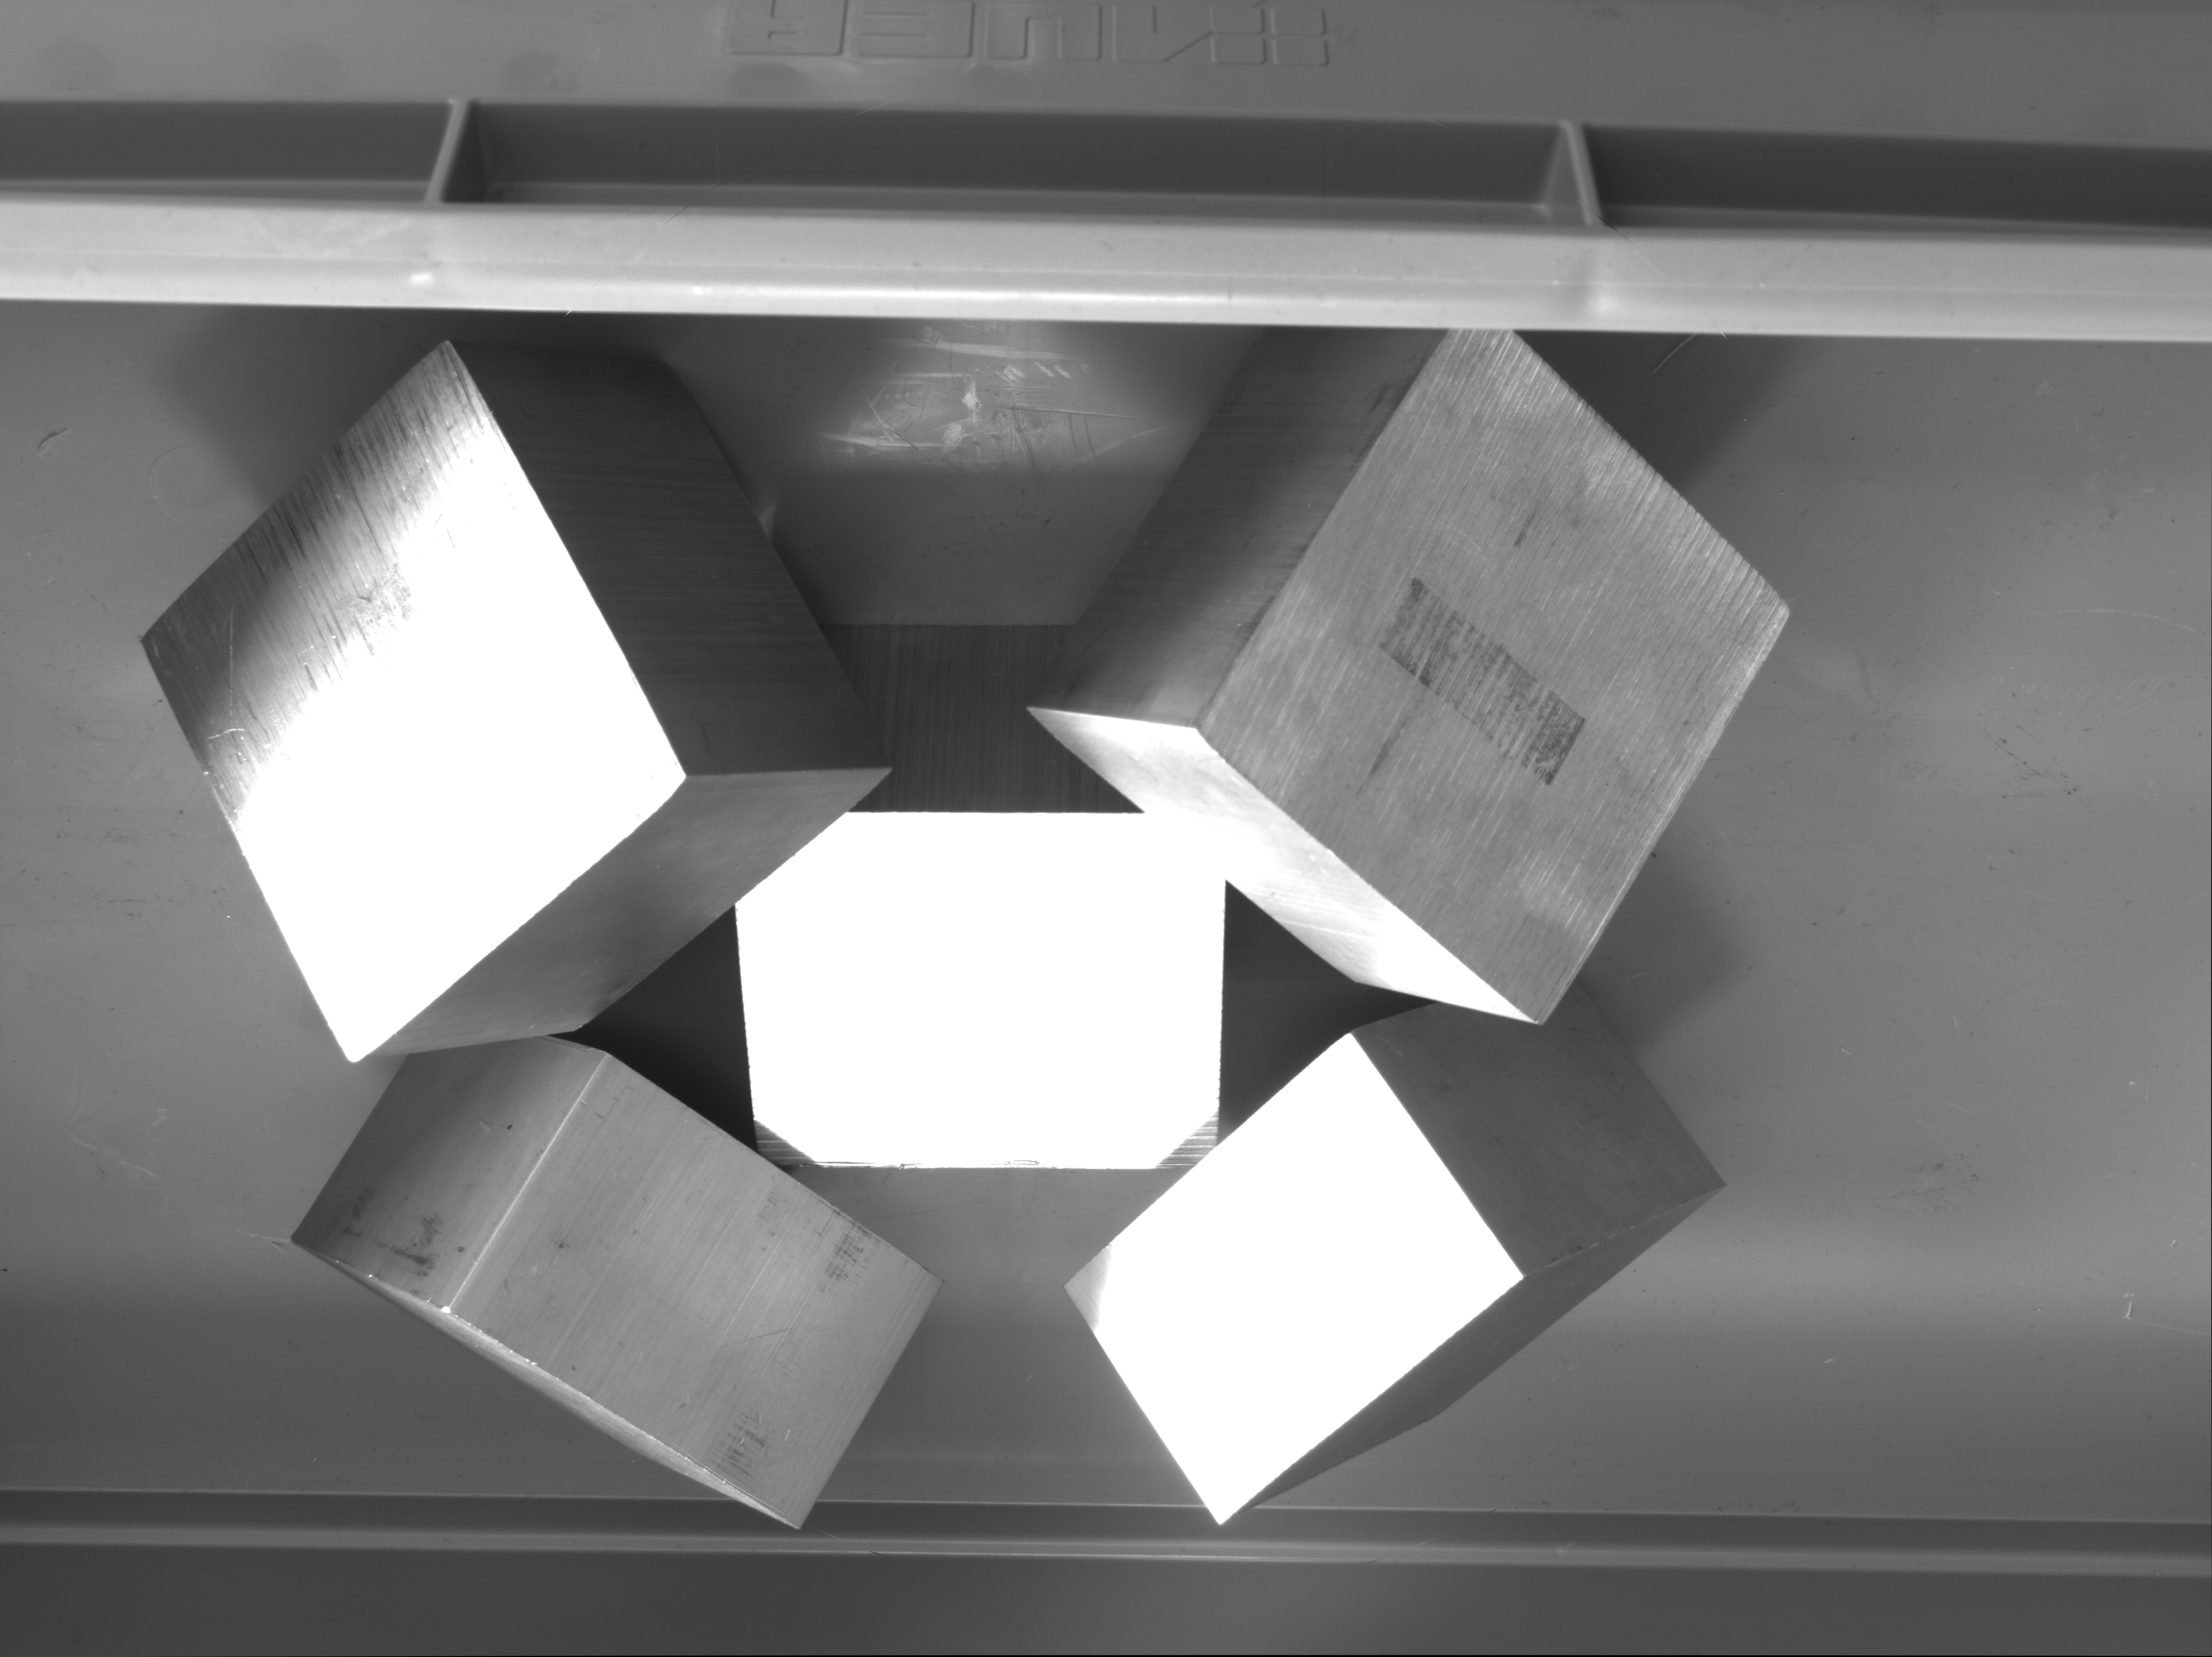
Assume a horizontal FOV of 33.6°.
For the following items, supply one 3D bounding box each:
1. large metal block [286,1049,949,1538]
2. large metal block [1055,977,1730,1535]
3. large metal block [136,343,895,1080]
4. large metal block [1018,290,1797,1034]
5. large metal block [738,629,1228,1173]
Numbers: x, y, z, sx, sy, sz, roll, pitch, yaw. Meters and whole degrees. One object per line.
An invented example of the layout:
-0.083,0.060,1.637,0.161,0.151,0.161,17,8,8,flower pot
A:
-0.089,0.078,0.660,0.080,0.050,0.080,38,165,-28,large metal block
0.052,0.074,0.655,0.080,0.050,0.080,-45,162,30,large metal block
-0.093,-0.018,0.575,0.080,0.080,0.050,-38,164,27,large metal block
0.048,-0.027,0.572,0.080,0.050,0.080,39,76,-27,large metal block
-0.020,0.013,0.631,0.080,0.050,0.080,0,130,0,large metal block
